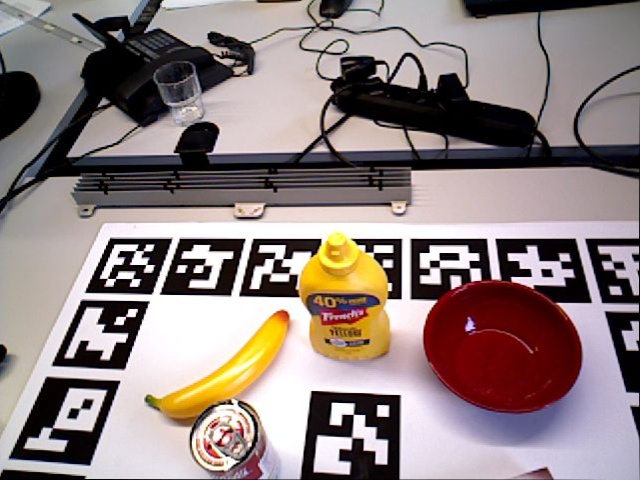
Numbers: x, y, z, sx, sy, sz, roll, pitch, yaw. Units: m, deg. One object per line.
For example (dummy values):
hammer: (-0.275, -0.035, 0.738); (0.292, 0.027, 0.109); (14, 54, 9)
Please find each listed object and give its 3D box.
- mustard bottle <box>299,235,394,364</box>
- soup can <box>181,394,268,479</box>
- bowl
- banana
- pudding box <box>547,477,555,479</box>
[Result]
mustard bottle: (0.028, 0.055, 0.565); (0.096, 0.195, 0.057); (2, 46, 10)
soup can: (-0.090, 0.198, 0.524); (0.068, 0.104, 0.067); (-3, 47, 3)
bowl: (0.202, 0.127, 0.583); (0.161, 0.056, 0.159); (-6, 48, 6)
banana: (-0.112, 0.141, 0.633); (0.194, 0.039, 0.074); (-35, 43, -20)
pudding box: (0.172, 0.271, 0.470); (0.113, 0.039, 0.089); (-17, 54, -5)
